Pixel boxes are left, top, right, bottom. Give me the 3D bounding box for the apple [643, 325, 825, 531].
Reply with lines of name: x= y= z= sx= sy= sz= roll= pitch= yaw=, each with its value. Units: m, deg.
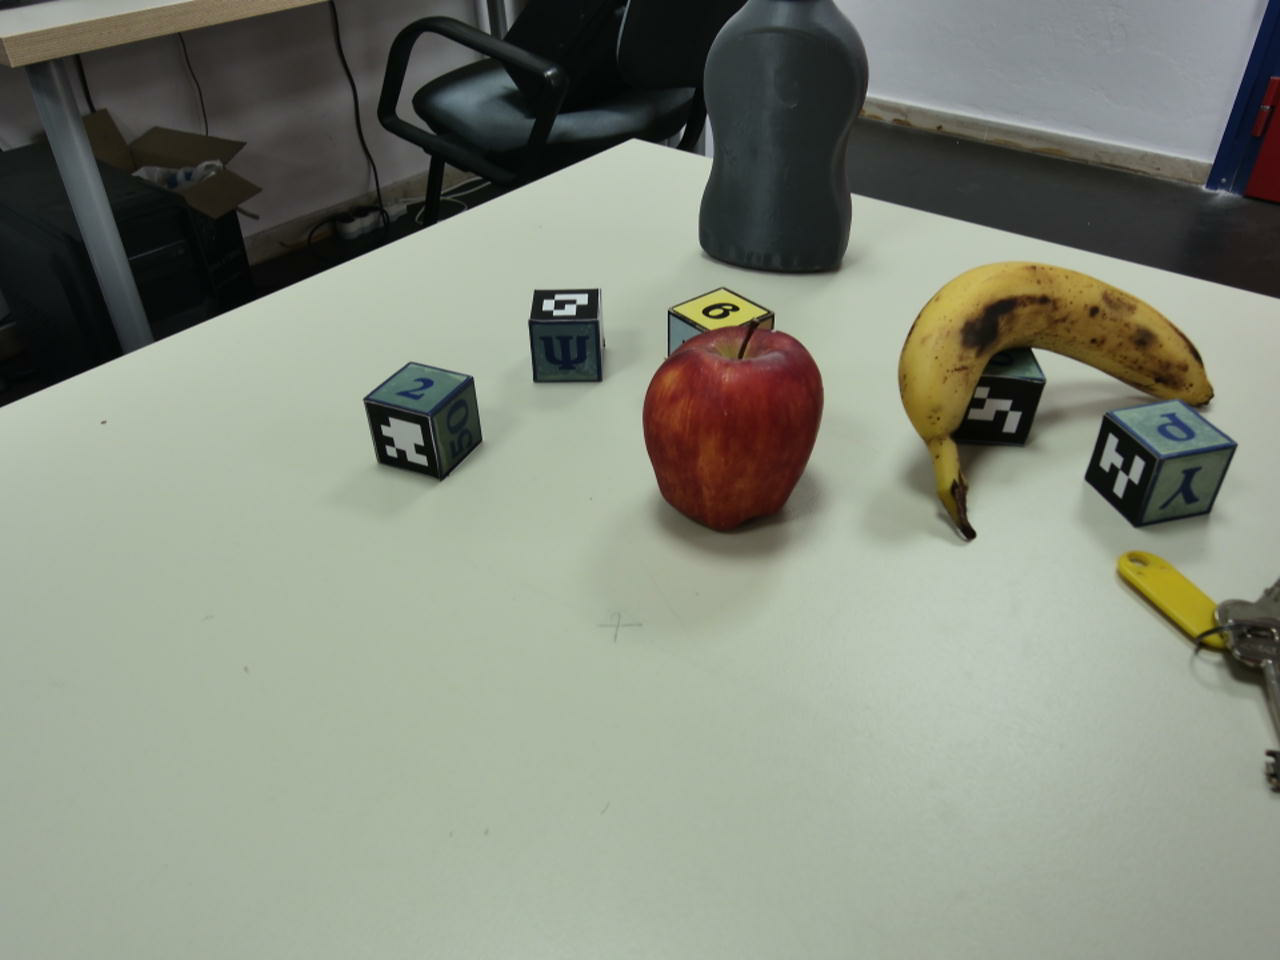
apple: x=0.041 y=-0.029 z=0.433 sx=0.083 sy=0.090 sz=0.083 roll=-1 pitch=36 yaw=1
